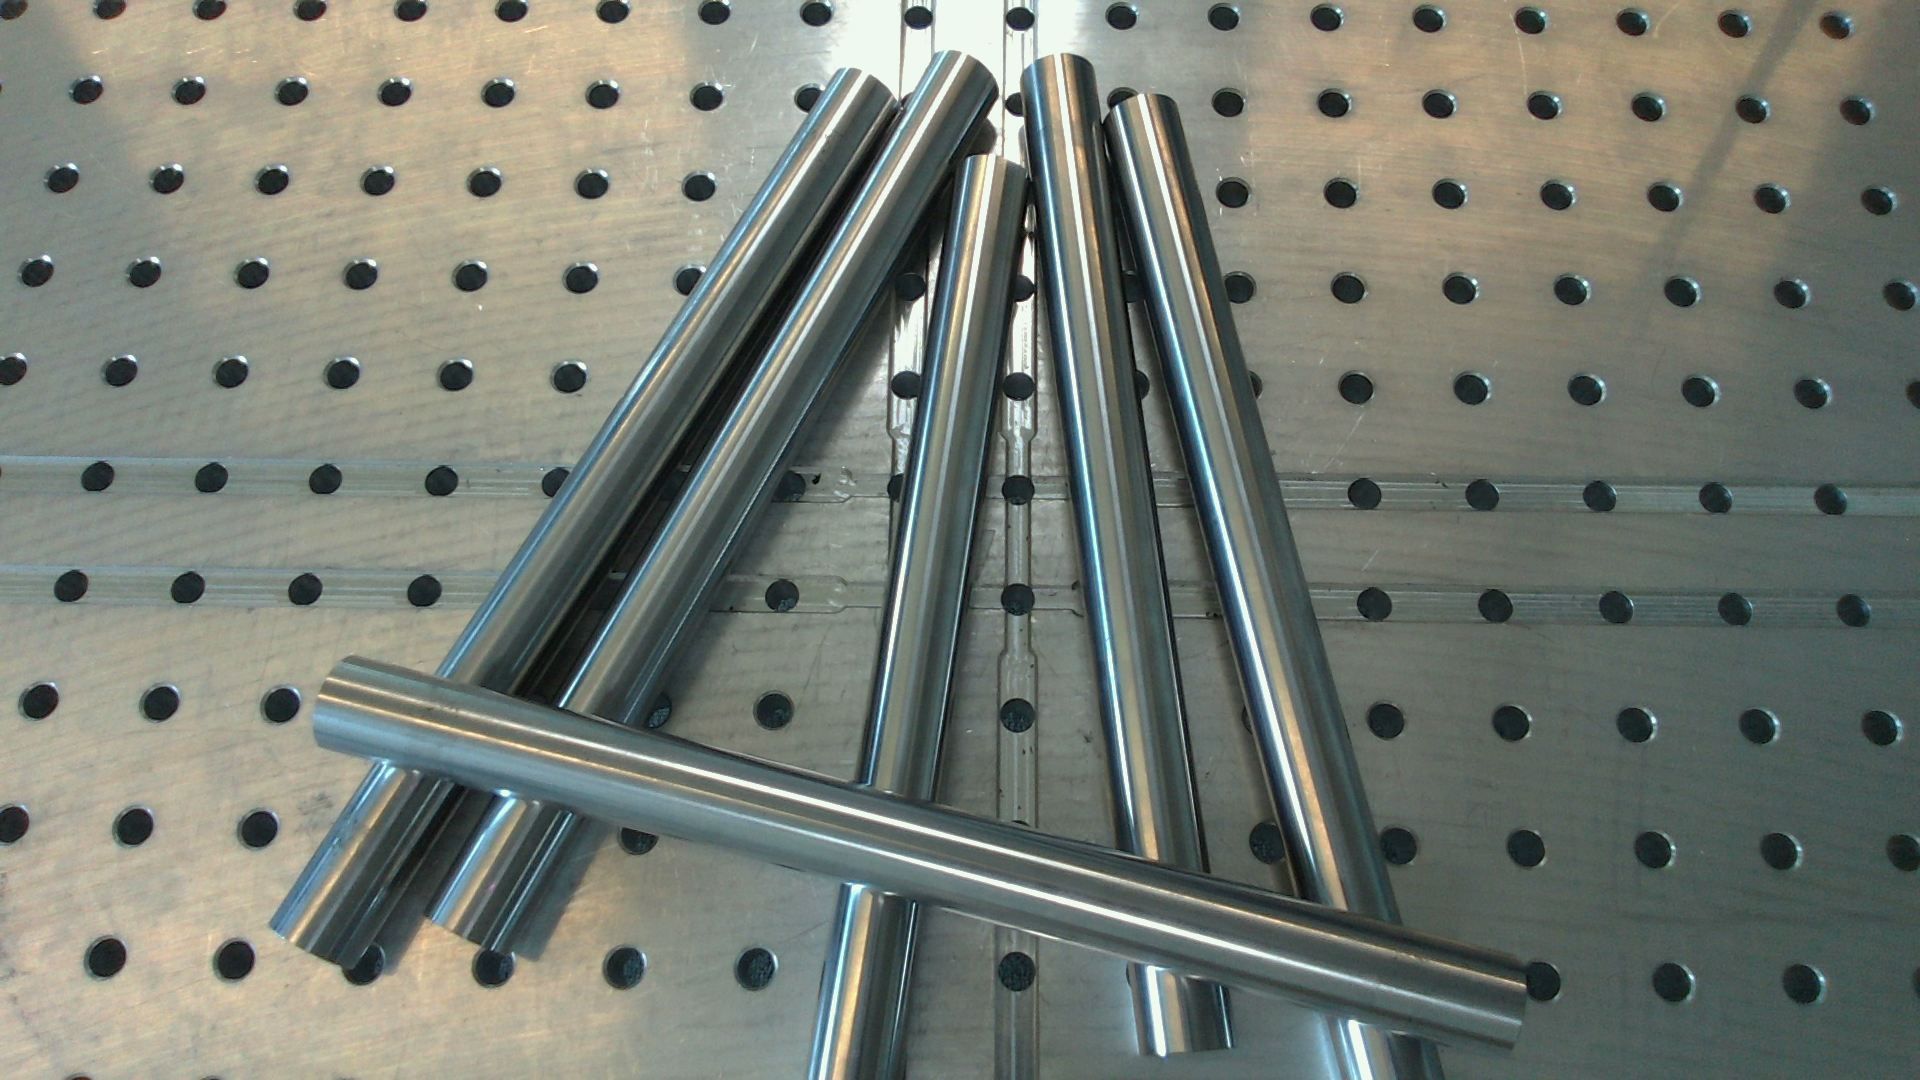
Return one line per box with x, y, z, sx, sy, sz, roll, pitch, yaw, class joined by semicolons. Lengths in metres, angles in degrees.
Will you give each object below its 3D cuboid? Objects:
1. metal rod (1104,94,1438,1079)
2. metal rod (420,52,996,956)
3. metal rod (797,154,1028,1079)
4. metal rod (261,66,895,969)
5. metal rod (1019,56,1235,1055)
0.083;0.002;0.396;0.025;0.025;0.300;-9;70;-3;metal rod
-0.064;-0.024;0.406;0.025;0.025;0.300;24;72;9;metal rod
-0.012;0.024;0.388;0.025;0.025;0.300;8;70;3;metal rod
-0.101;-0.020;0.403;0.025;0.025;0.300;26;72;9;metal rod
0.044;-0.011;0.401;0.025;0.025;0.300;-5;70;-2;metal rod
